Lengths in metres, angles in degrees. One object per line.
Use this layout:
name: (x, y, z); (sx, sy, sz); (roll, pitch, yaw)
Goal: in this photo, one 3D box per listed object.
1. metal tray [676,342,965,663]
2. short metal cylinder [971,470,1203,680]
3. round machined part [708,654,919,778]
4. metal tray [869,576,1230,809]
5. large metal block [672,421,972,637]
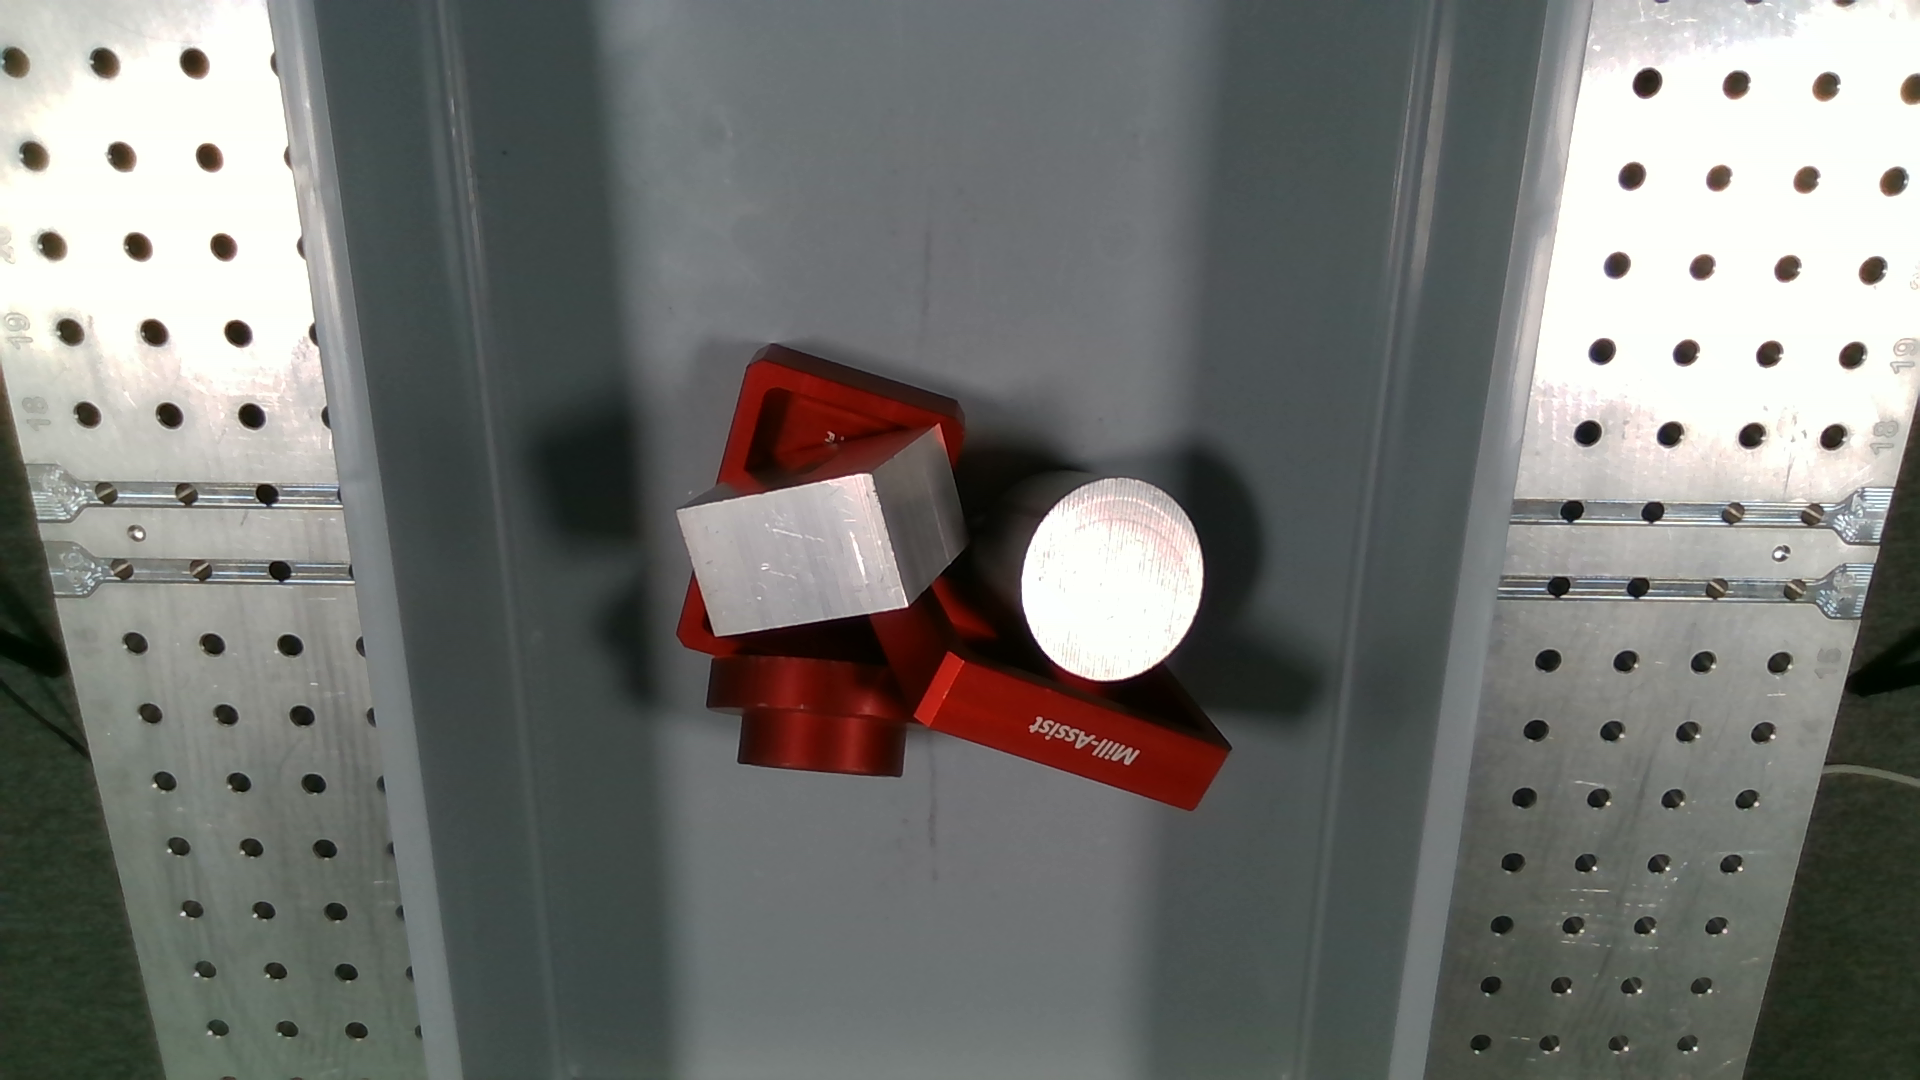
metal tray: (-0.059, -0.007, 0.577); (0.090, 0.030, 0.130); (16, 109, -6)
short metal cylinder: (0.051, 0.012, 0.559); (0.080, 0.050, 0.080); (-3, 99, -22)
round machined part: (-0.056, 0.074, 0.568); (0.098, 0.098, 0.042); (5, 80, -2)
metal tray: (0.034, 0.057, 0.553); (0.130, 0.090, 0.030); (20, 106, -24)
large metal block: (-0.050, -0.006, 0.527); (0.080, 0.080, 0.050); (-10, 104, 21)
